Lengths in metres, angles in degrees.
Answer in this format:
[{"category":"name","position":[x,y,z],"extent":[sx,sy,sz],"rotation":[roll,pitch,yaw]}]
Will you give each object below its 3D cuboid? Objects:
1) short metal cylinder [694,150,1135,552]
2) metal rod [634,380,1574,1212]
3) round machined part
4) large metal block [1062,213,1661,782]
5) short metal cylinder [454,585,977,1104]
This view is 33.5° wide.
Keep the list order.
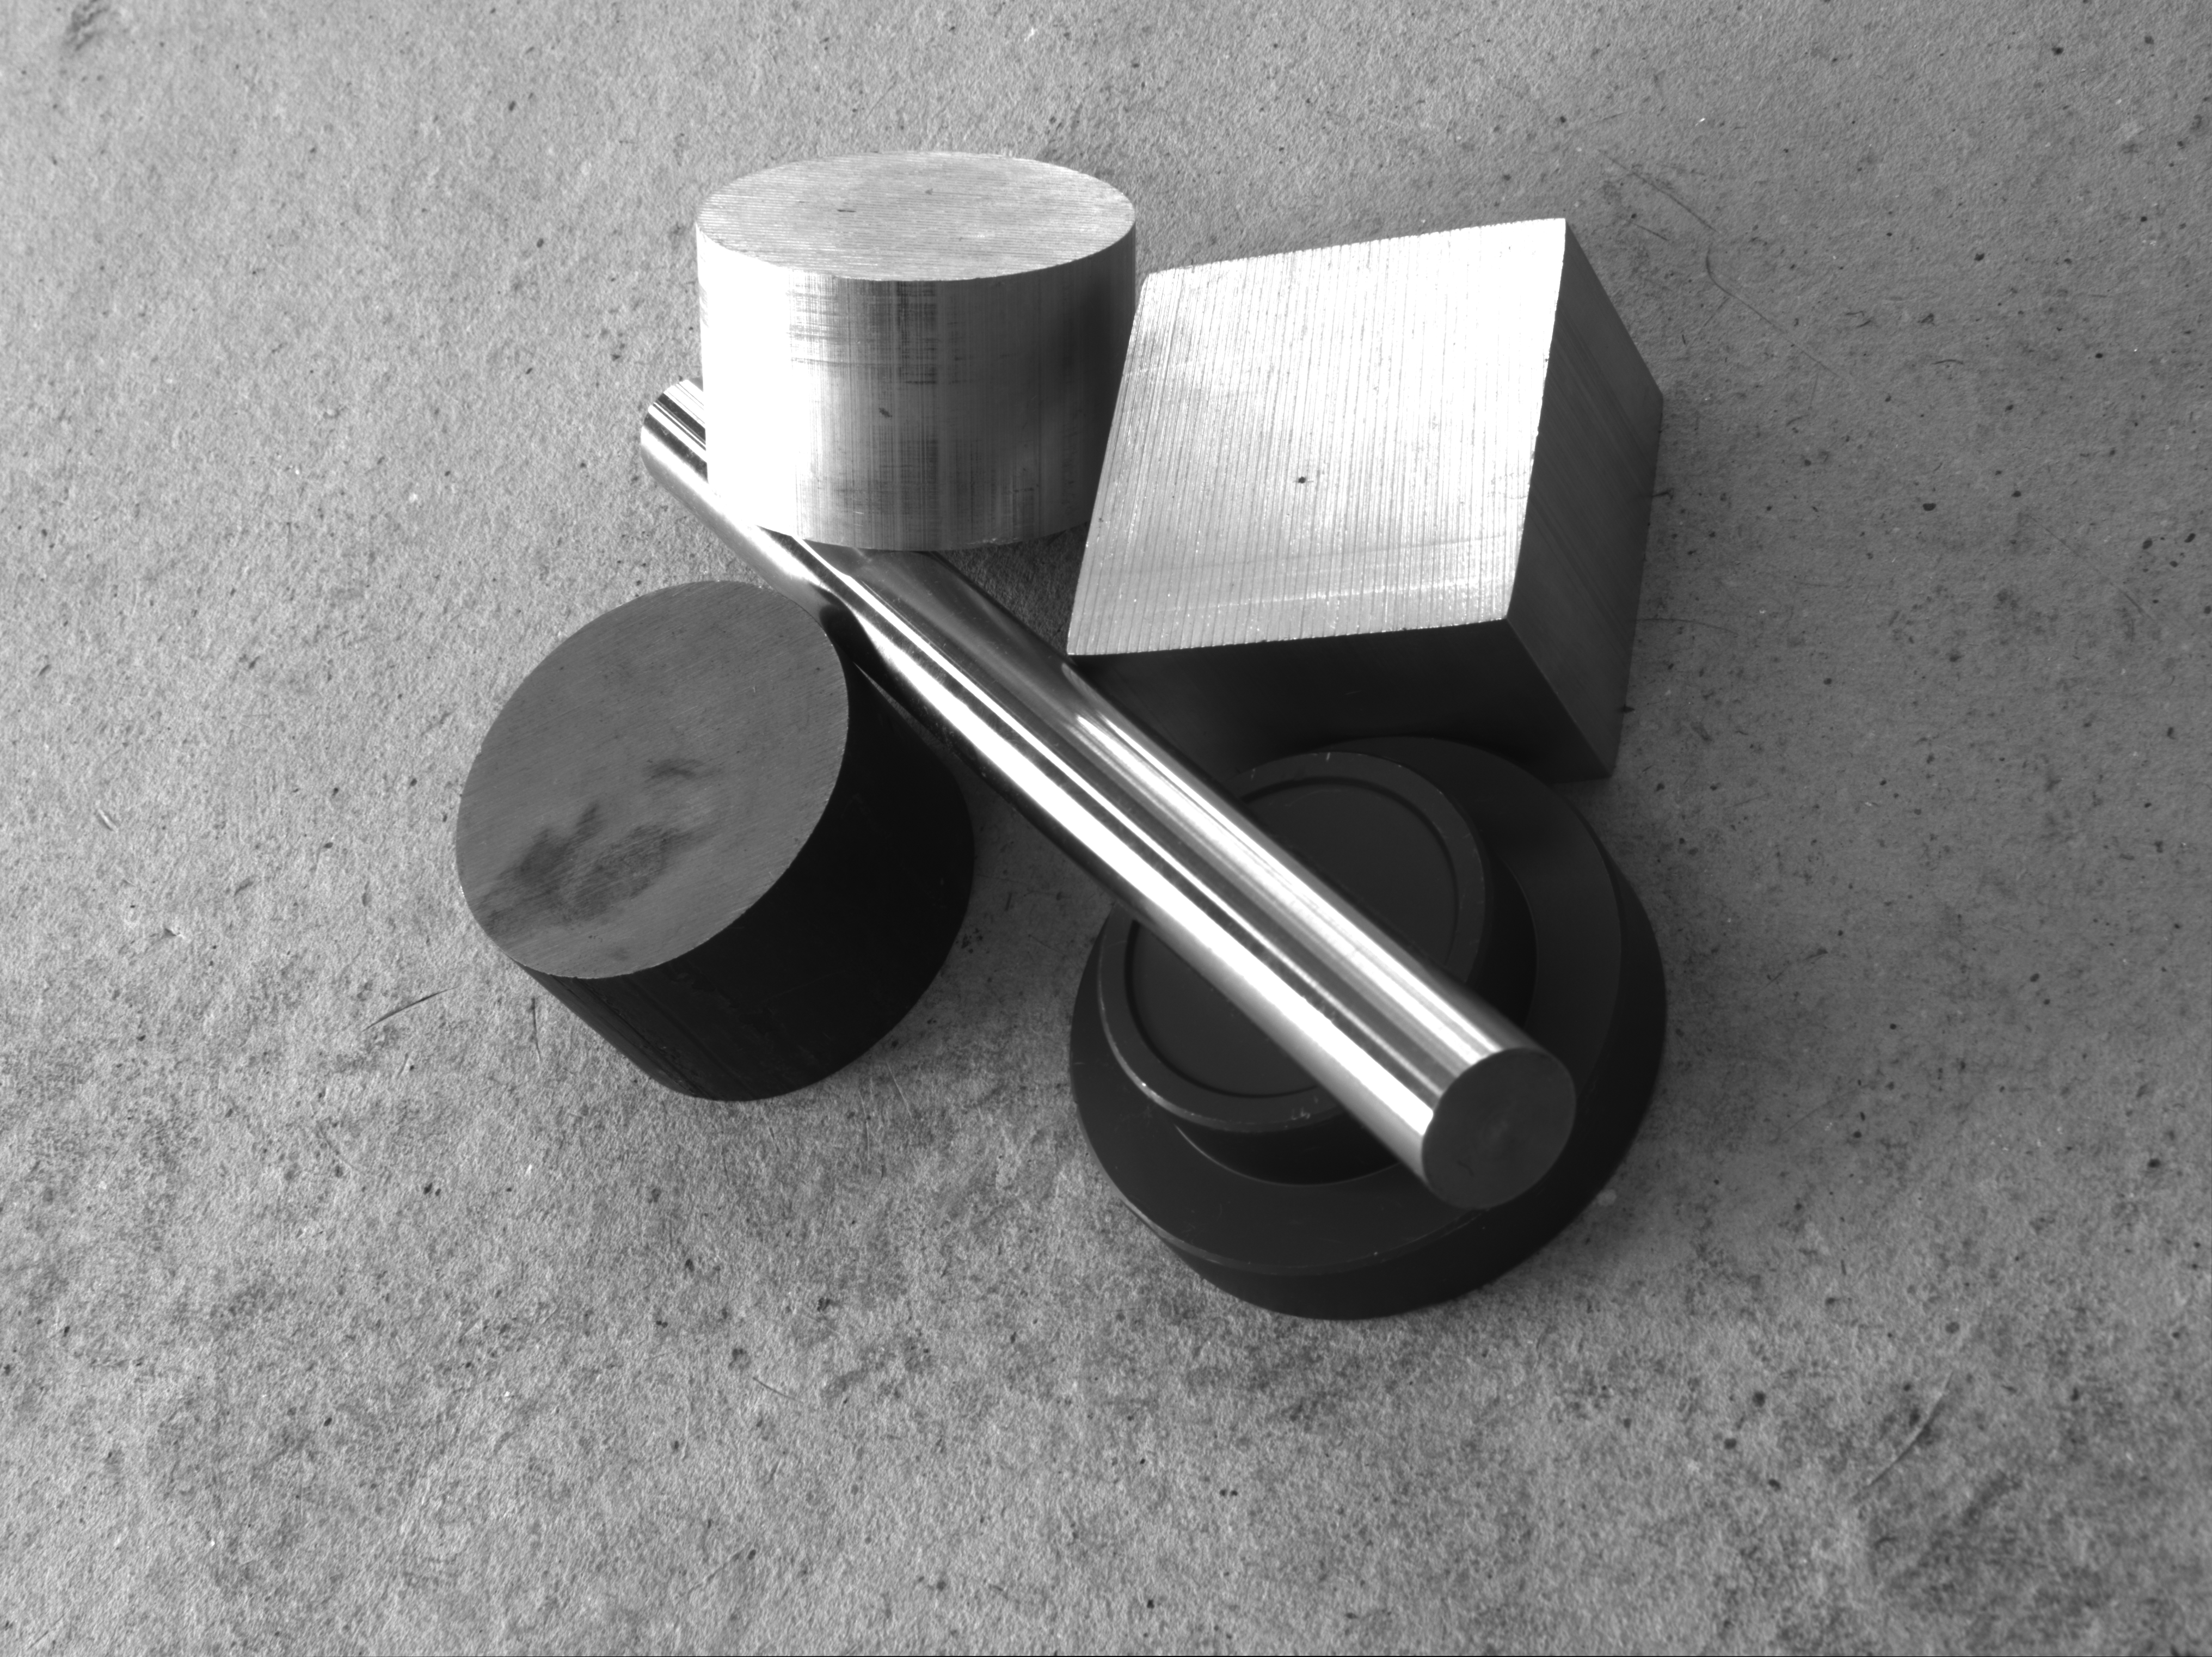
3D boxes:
[{"category":"short metal cylinder","position":[-0.035,-0.090,0.680],"extent":[0.080,0.050,0.080],"rotation":[1,27,0]},{"category":"metal rod","position":[-0.015,-0.019,0.622],"extent":[0.025,0.025,0.299],"rotation":[-45,37,-3]},{"category":"round machined part","position":[0.037,0.027,0.597],"extent":[0.098,0.042,0.098],"rotation":[-14,56,21]},{"category":"large metal block","position":[0.046,-0.054,0.636],"extent":[0.080,0.050,0.080],"rotation":[-3,60,27]},{"category":"short metal cylinder","position":[-0.070,0.003,0.667],"extent":[0.080,0.050,0.080],"rotation":[-14,56,21]}]
